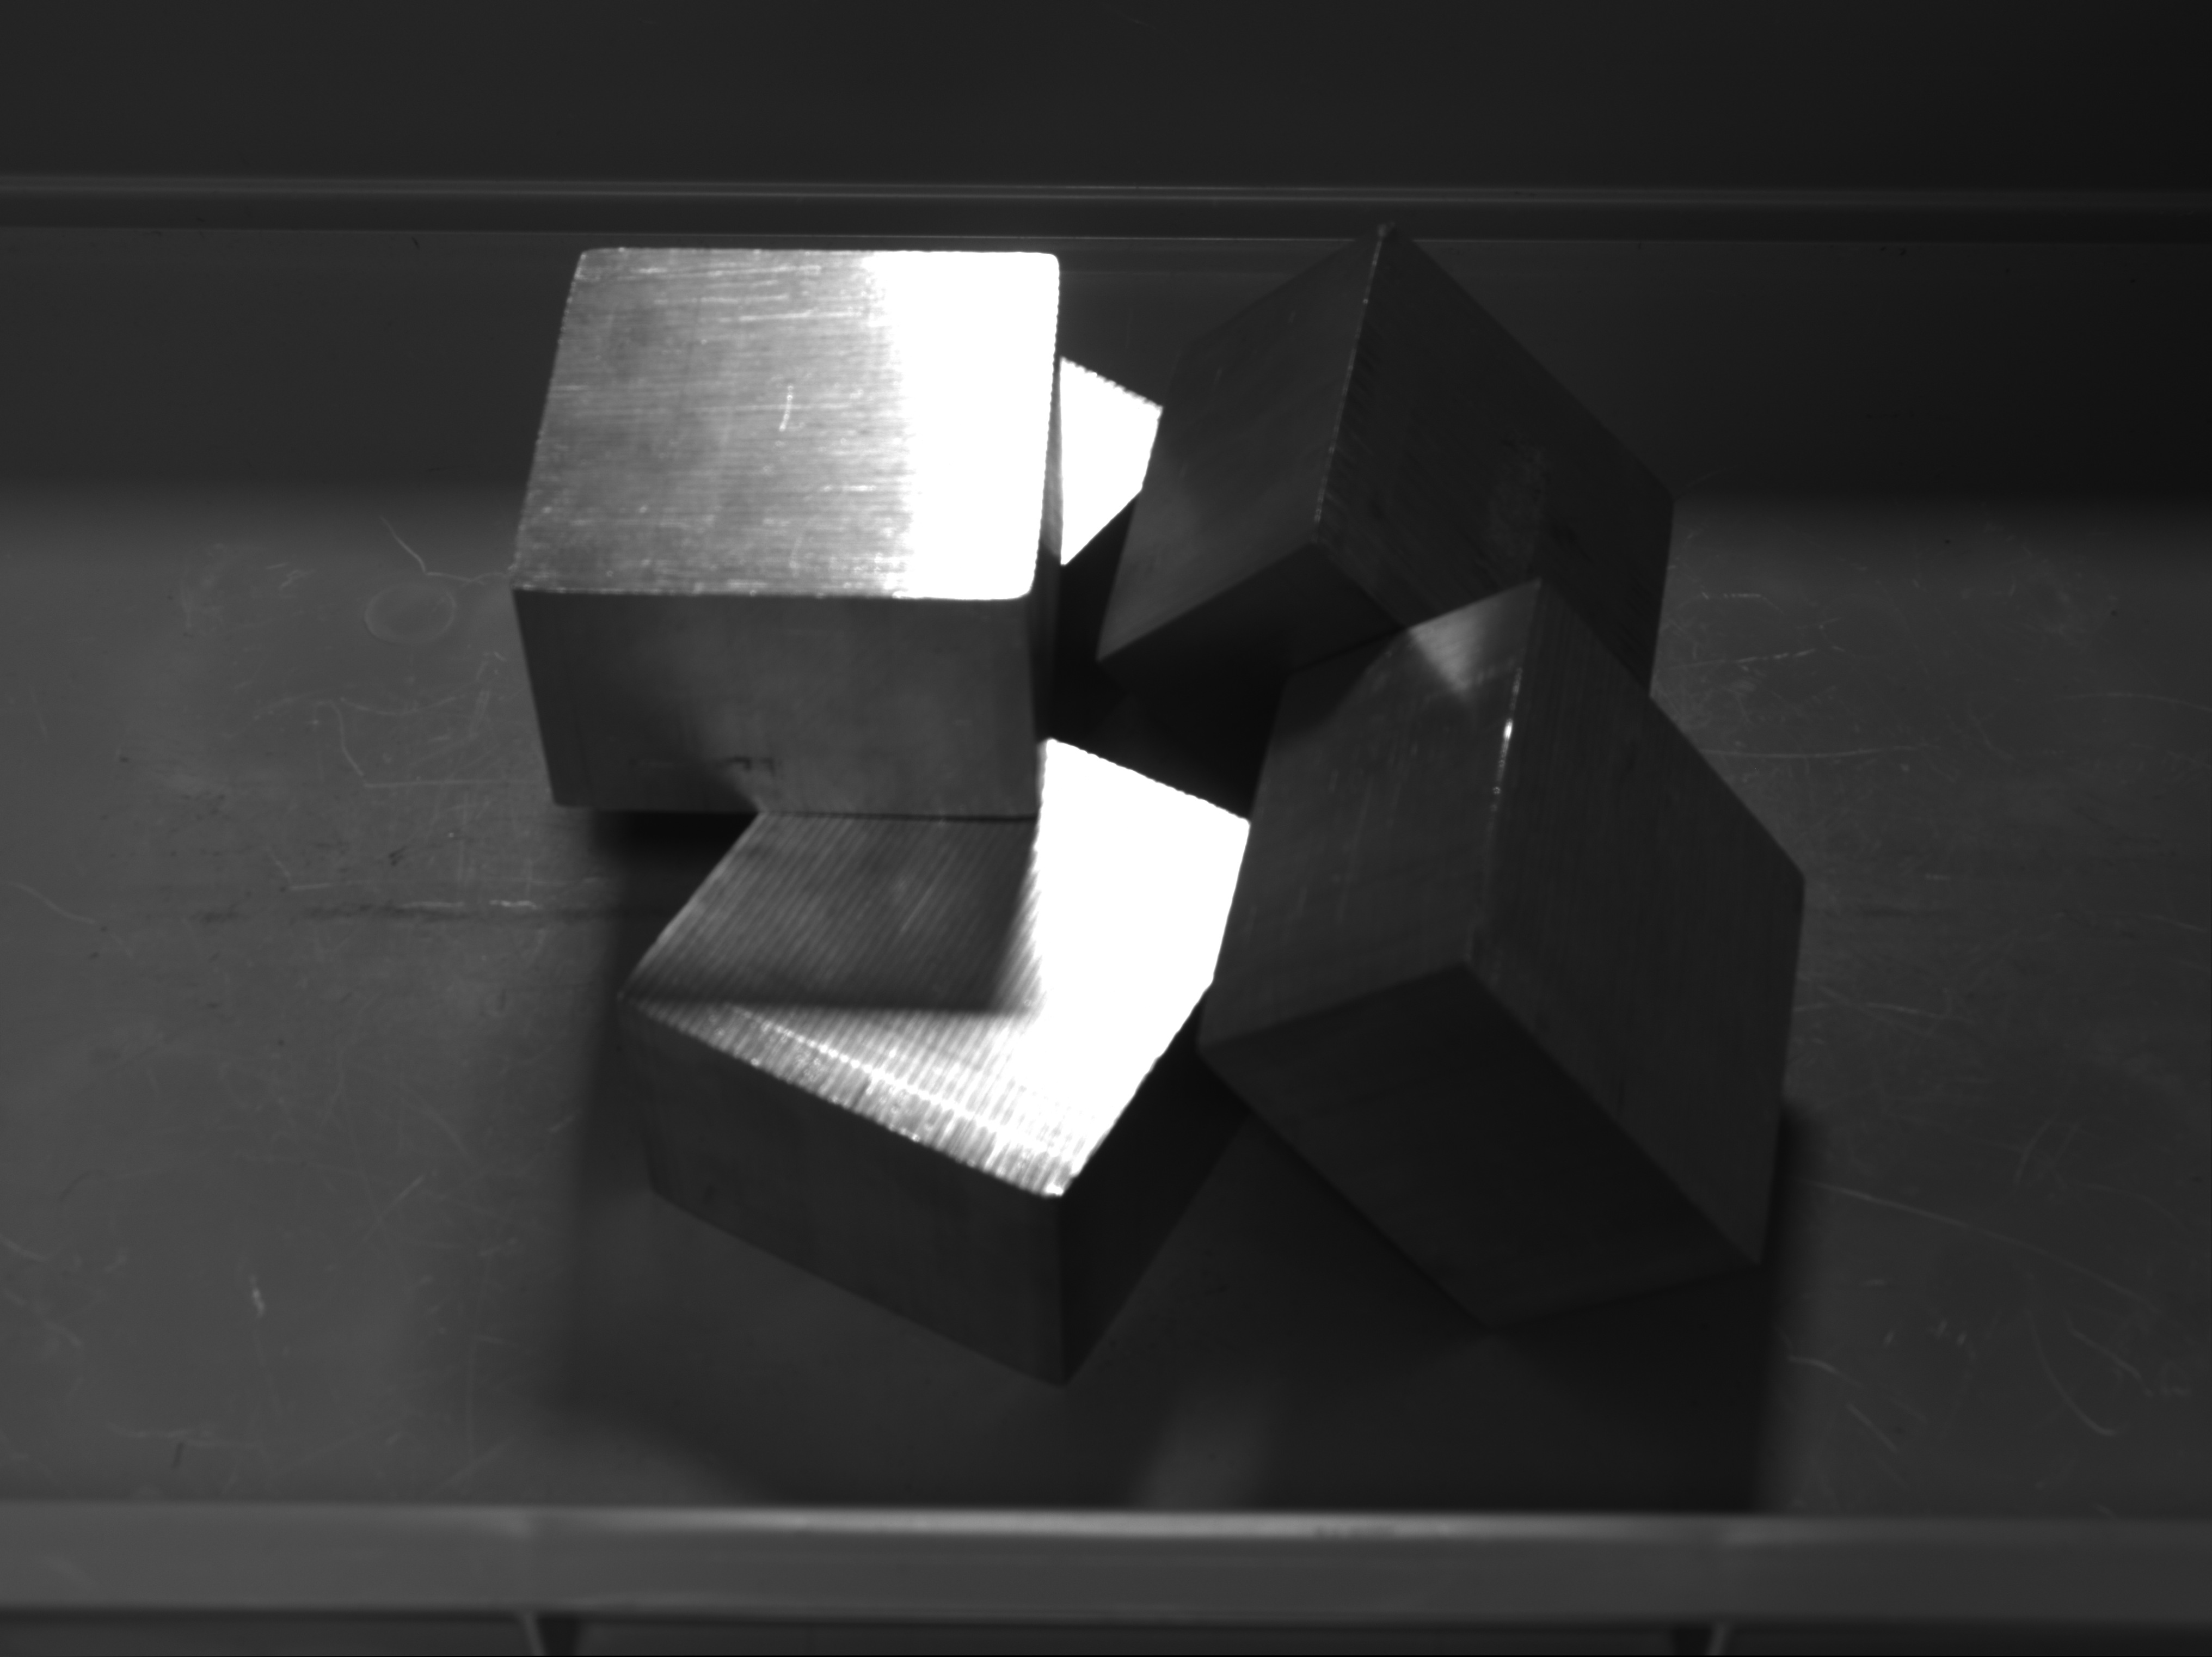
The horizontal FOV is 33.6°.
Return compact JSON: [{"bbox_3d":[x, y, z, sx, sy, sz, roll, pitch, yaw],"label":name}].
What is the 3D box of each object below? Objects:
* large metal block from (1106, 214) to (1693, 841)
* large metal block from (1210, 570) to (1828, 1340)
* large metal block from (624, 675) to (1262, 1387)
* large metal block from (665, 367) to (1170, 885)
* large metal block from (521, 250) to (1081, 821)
[{"bbox_3d":[0.053,-0.044,0.633,0.080,0.050,0.080,39,45,-27],"label":"large metal block"},{"bbox_3d":[0.068,0.021,0.578,0.050,0.080,0.080,-21,38,36],"label":"large metal block"},{"bbox_3d":[-0.020,0.031,0.595,0.080,0.050,0.080,24,54,19],"label":"large metal block"},{"bbox_3d":[-0.036,-0.048,0.666,0.080,0.050,0.080,29,56,22],"label":"large metal block"},{"bbox_3d":[-0.046,-0.049,0.598,0.080,0.050,0.080,1,49,3],"label":"large metal block"}]
